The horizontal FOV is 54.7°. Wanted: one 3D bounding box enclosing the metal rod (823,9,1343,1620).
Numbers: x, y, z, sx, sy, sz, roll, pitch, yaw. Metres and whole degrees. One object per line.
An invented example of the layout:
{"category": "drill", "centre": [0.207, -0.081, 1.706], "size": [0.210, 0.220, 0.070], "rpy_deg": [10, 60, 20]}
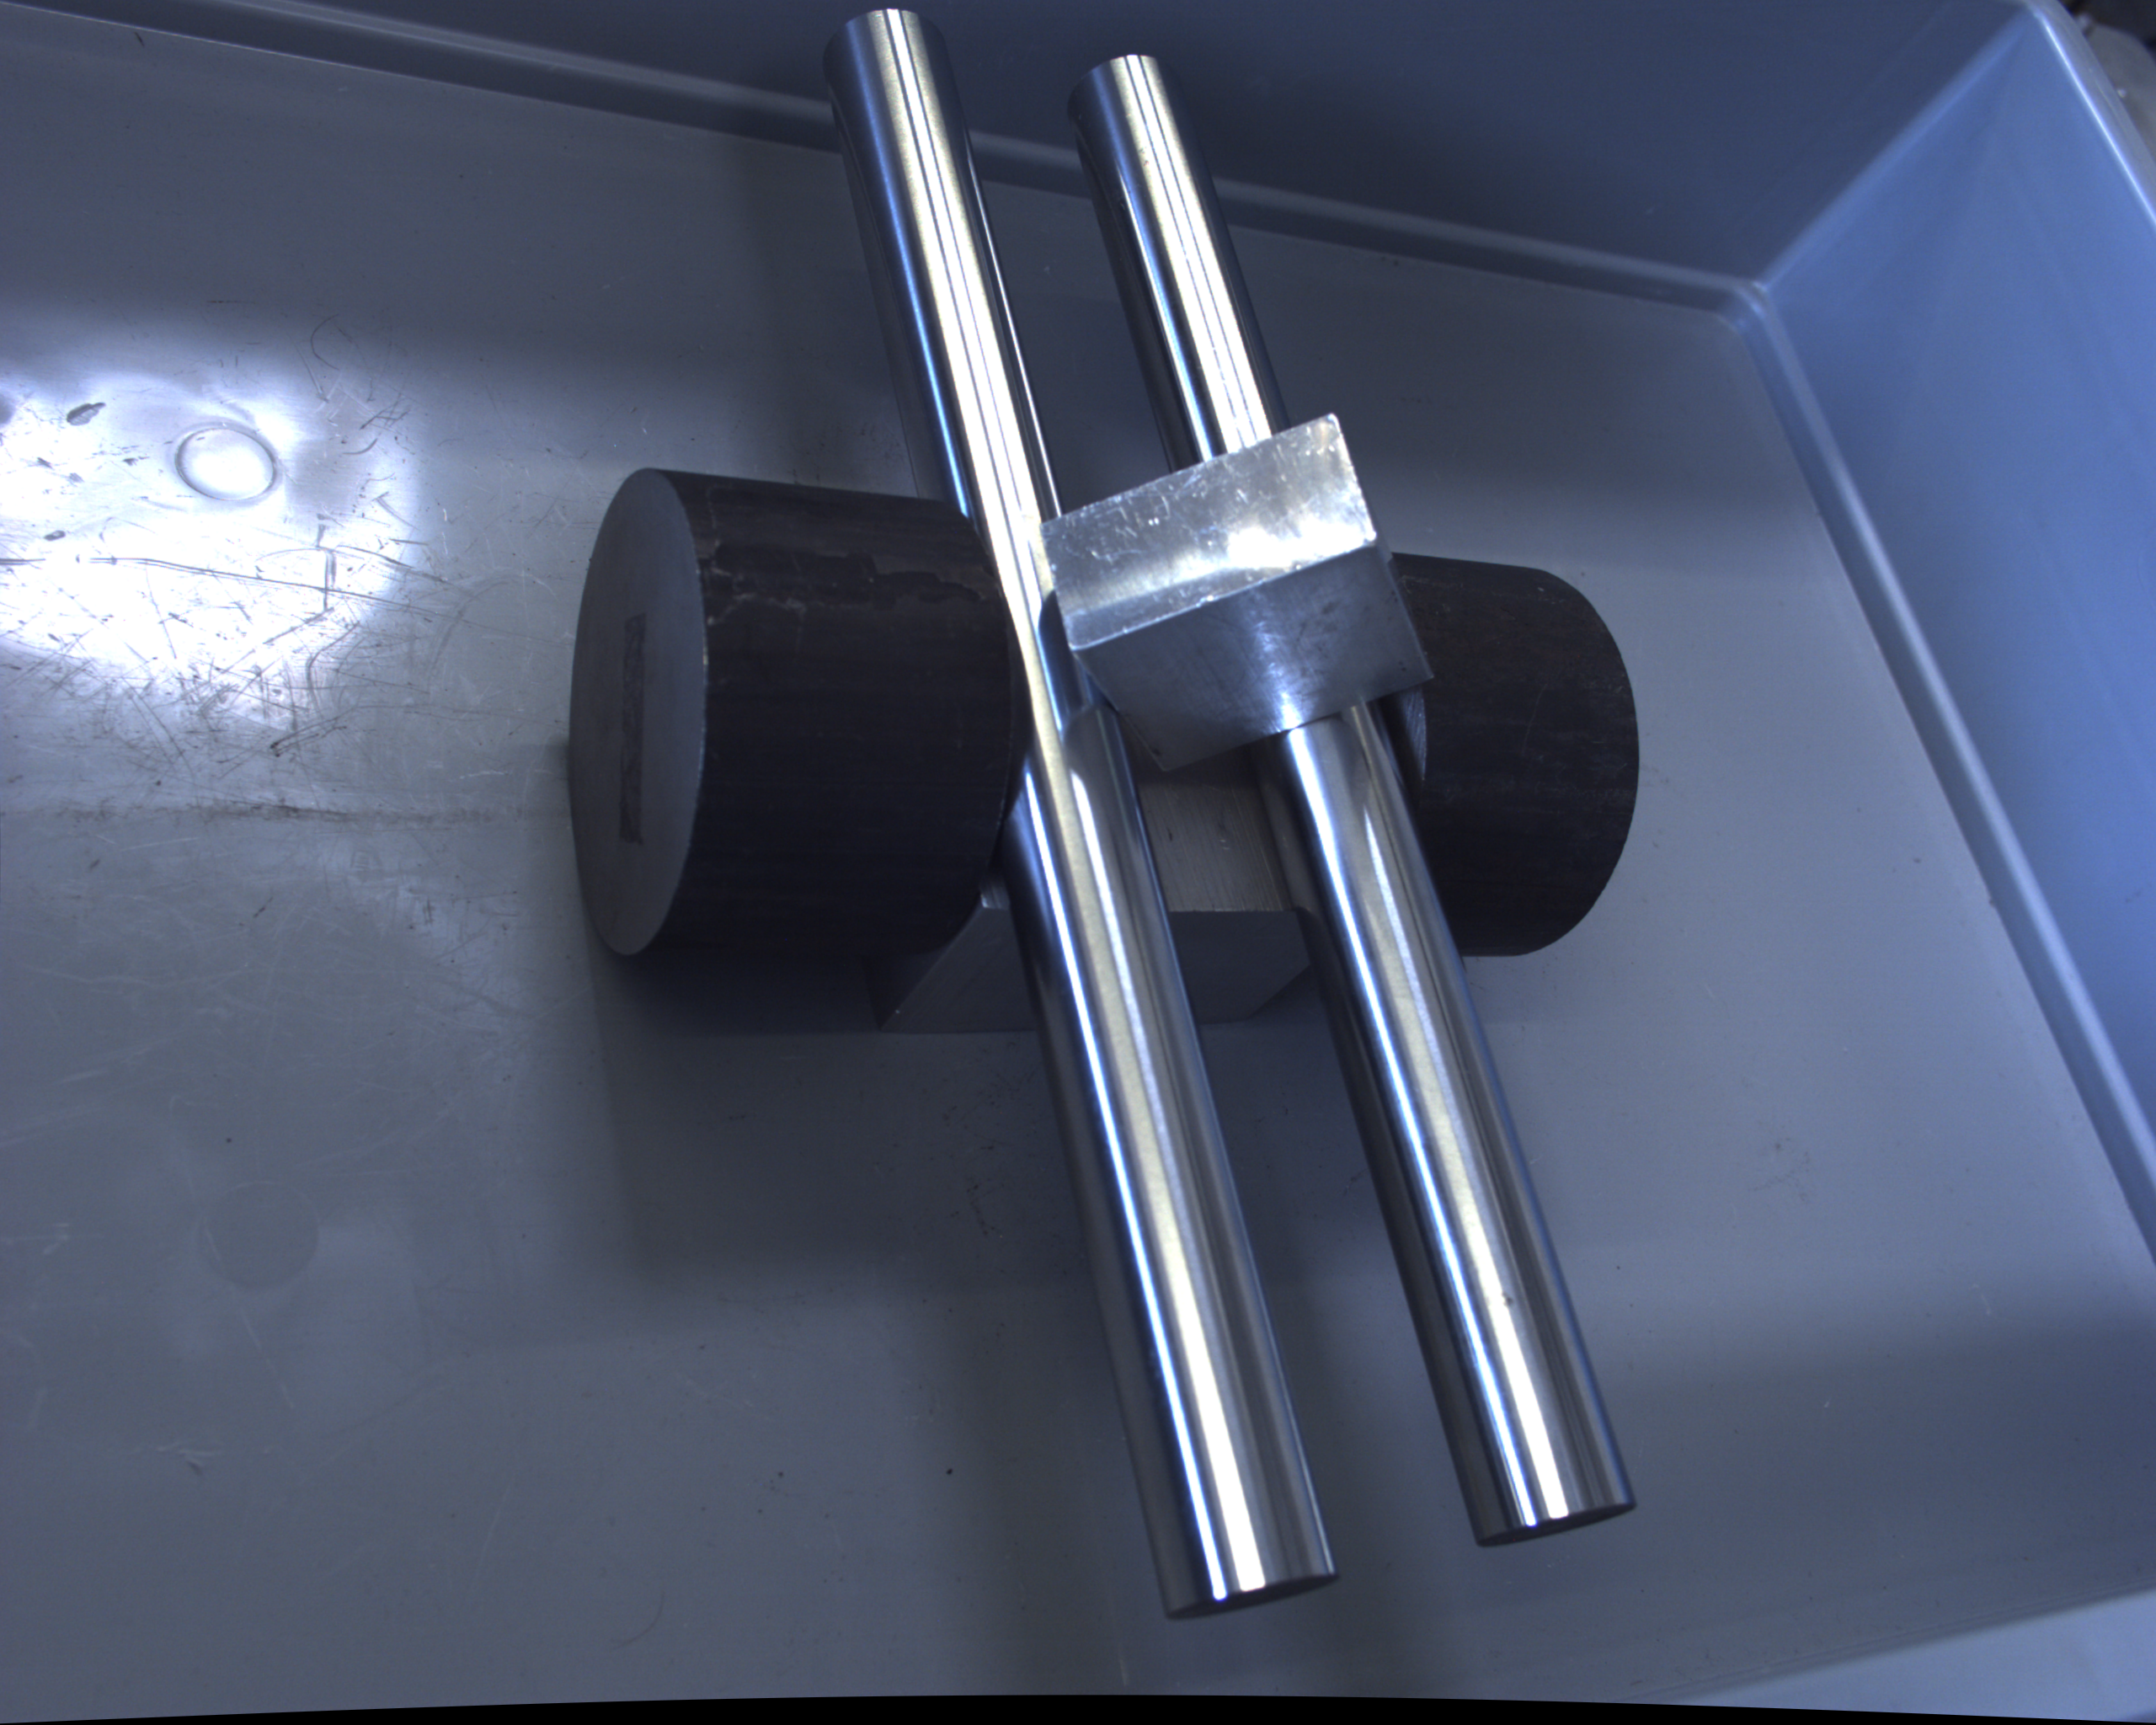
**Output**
{"category": "metal rod", "centre": [-0.007, -0.029, 0.354], "size": [0.025, 0.025, 0.299], "rpy_deg": [1, 61, -28]}

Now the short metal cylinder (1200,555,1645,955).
{"category": "short metal cylinder", "centre": [0.066, -0.021, 0.416], "size": [0.050, 0.080, 0.080], "rpy_deg": [0, 62, -27]}

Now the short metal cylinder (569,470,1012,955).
{"category": "short metal cylinder", "centre": [-0.051, -0.024, 0.355], "size": [0.050, 0.080, 0.080], "rpy_deg": [2, 61, -28]}

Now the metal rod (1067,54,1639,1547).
{"category": "metal rod", "centre": [0.042, -0.031, 0.381], "size": [0.025, 0.025, 0.299], "rpy_deg": [1, 61, -28]}

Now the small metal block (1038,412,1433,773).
{"category": "small metal block", "centre": [0.027, -0.043, 0.348], "size": [0.050, 0.050, 0.025], "rpy_deg": [-19, 65, 12]}

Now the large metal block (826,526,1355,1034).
{"category": "large metal block", "centre": [0.001, -0.015, 0.397], "size": [0.081, 0.050, 0.080], "rpy_deg": [1, 61, -28]}
